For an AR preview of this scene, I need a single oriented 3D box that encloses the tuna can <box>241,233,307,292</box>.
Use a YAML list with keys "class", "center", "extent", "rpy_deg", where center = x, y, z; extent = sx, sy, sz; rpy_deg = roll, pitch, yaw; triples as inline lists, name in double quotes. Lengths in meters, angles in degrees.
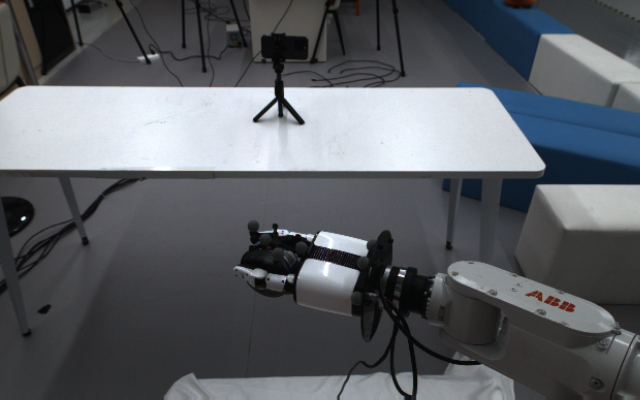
- class: "tuna can"
  center: [-0.072, 0.101, 0.728]
  extent: [0.085, 0.085, 0.034]
  rpy_deg: [16, 29, 19]
